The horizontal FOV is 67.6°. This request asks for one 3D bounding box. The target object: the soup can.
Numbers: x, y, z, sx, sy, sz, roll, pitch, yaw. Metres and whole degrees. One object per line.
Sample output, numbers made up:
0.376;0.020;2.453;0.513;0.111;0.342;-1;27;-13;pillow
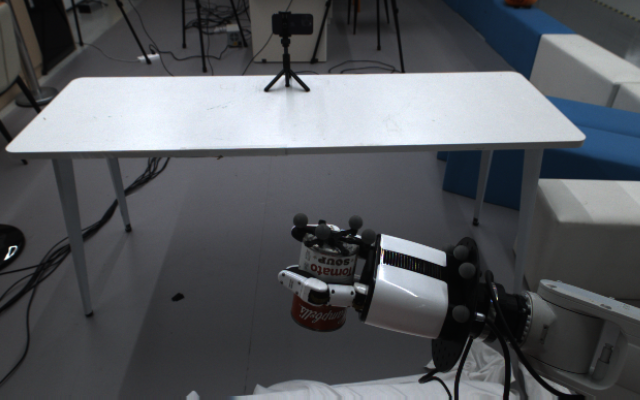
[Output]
0.007;0.094;0.571;0.067;0.101;0.067;9;19;-3;soup can
